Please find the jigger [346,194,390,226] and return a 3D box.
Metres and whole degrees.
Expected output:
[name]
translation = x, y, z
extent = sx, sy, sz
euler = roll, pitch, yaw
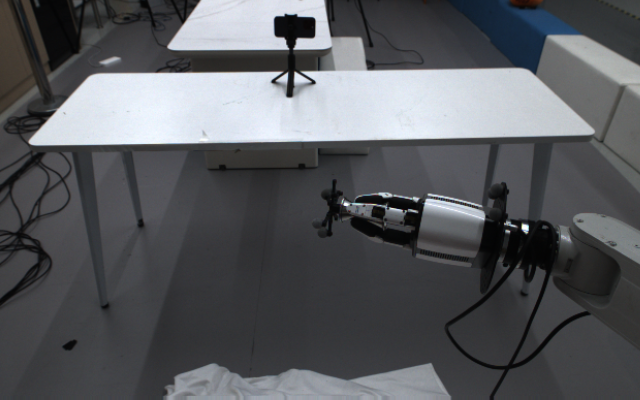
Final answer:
[jigger]
translation = 0.073, 0.014, 0.722
extent = 0.071, 0.043, 0.043
euler = 7, 35, 16
